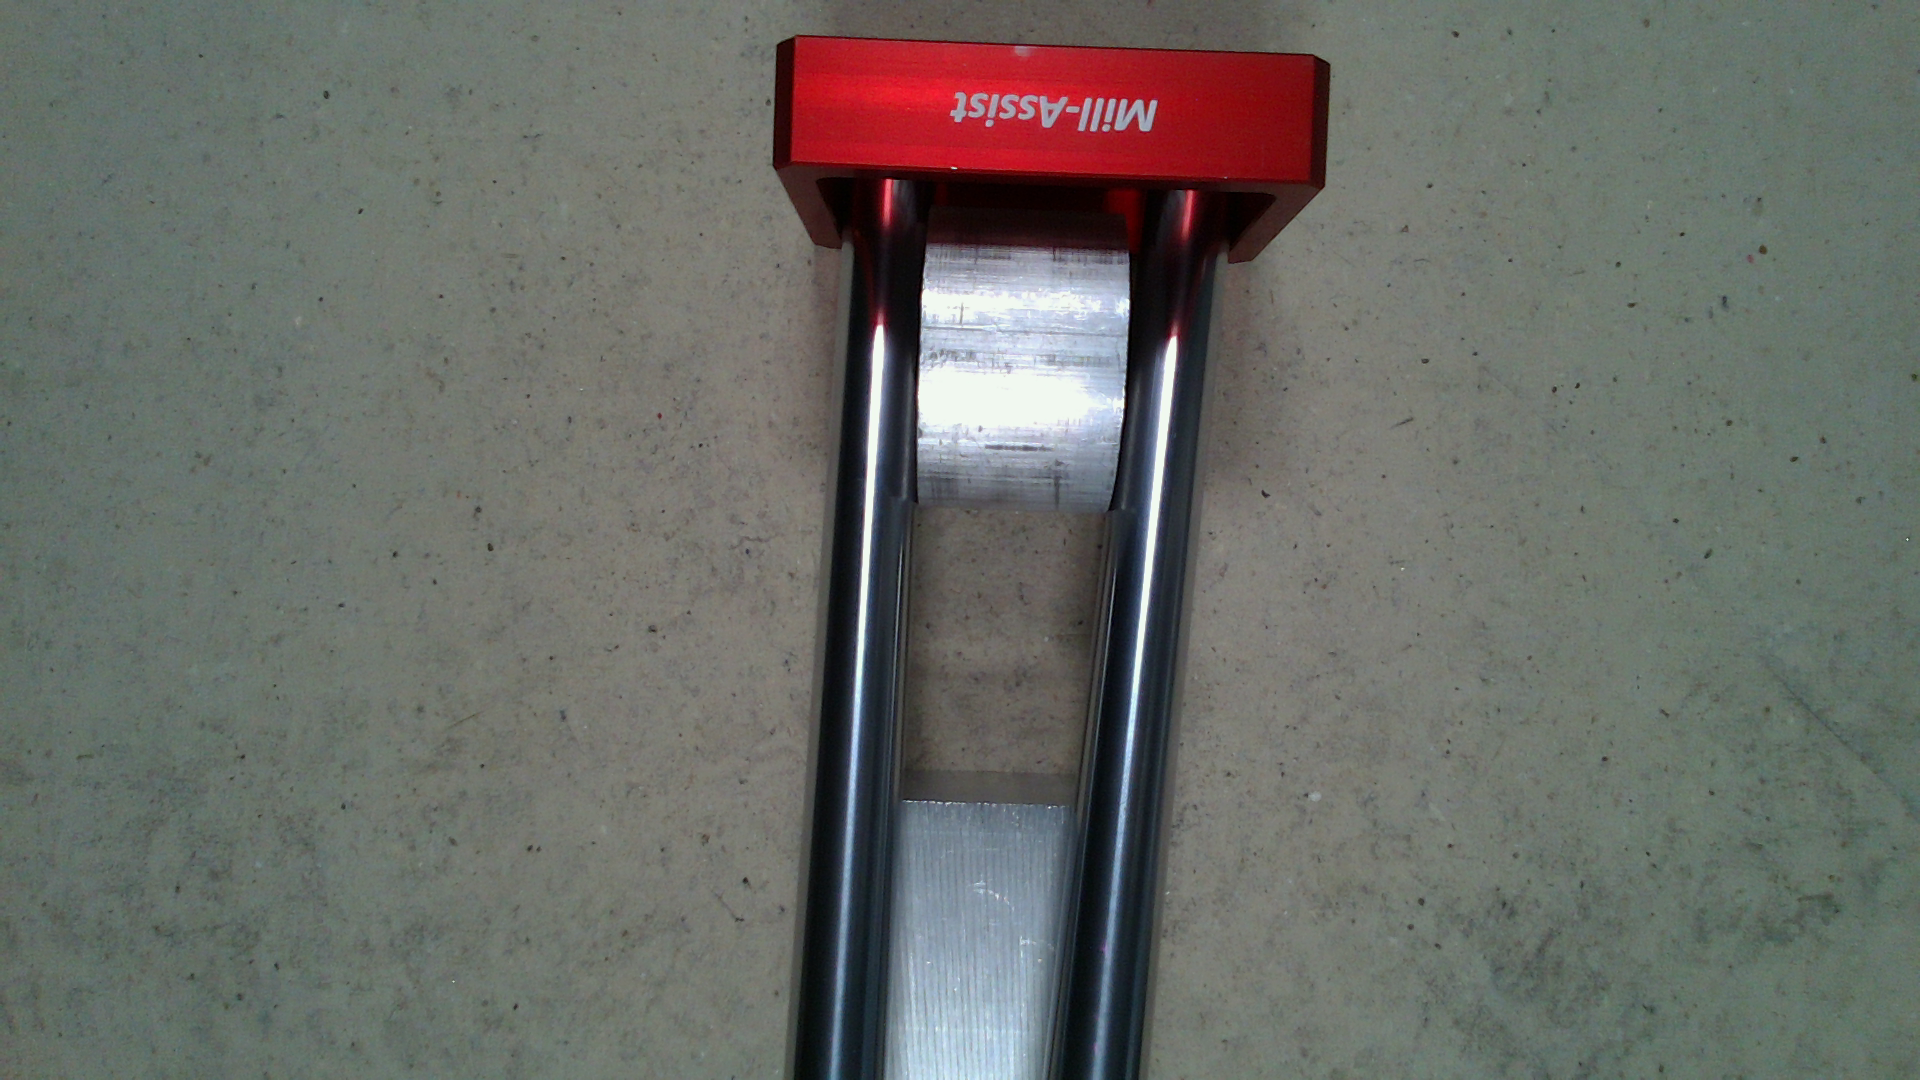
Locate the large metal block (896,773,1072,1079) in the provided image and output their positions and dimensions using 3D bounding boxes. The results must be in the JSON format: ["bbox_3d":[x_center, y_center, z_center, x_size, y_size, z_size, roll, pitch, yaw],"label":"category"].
[{"bbox_3d":[0.008,0.109,0.381,0.080,0.050,0.080,2,90,0],"label":"large metal block"}]

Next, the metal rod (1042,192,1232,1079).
[{"bbox_3d":[0.044,0.049,0.349,0.025,0.025,0.300,8,75,0],"label":"metal rod"}]

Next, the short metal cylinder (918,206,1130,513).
[{"bbox_3d":[0.015,-0.048,0.368,0.050,0.080,0.080,2,90,0],"label":"short metal cylinder"}]

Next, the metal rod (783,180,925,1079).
[{"bbox_3d":[-0.027,0.046,0.350,0.025,0.025,0.300,2,75,0],"label":"metal rod"}]

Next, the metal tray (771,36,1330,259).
[{"bbox_3d":[0.021,-0.099,0.362,0.130,0.090,0.030,2,90,0],"label":"metal tray"}]
